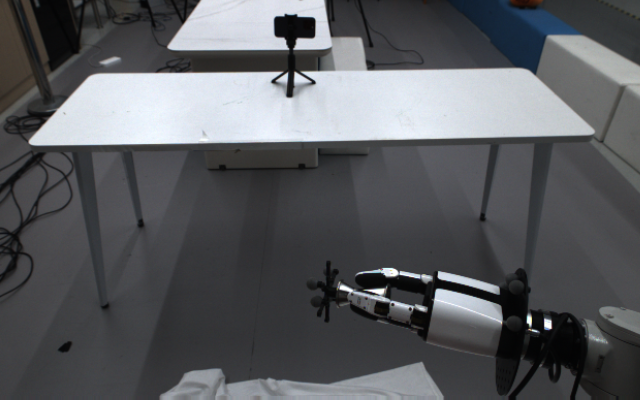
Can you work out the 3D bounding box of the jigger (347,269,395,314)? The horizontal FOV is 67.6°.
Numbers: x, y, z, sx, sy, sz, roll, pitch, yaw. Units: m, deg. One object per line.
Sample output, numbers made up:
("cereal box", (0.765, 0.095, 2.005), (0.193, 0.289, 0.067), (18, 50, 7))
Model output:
("jigger", (0.067, 0.127, 0.664), (0.071, 0.043, 0.043), (3, 34, 18))
